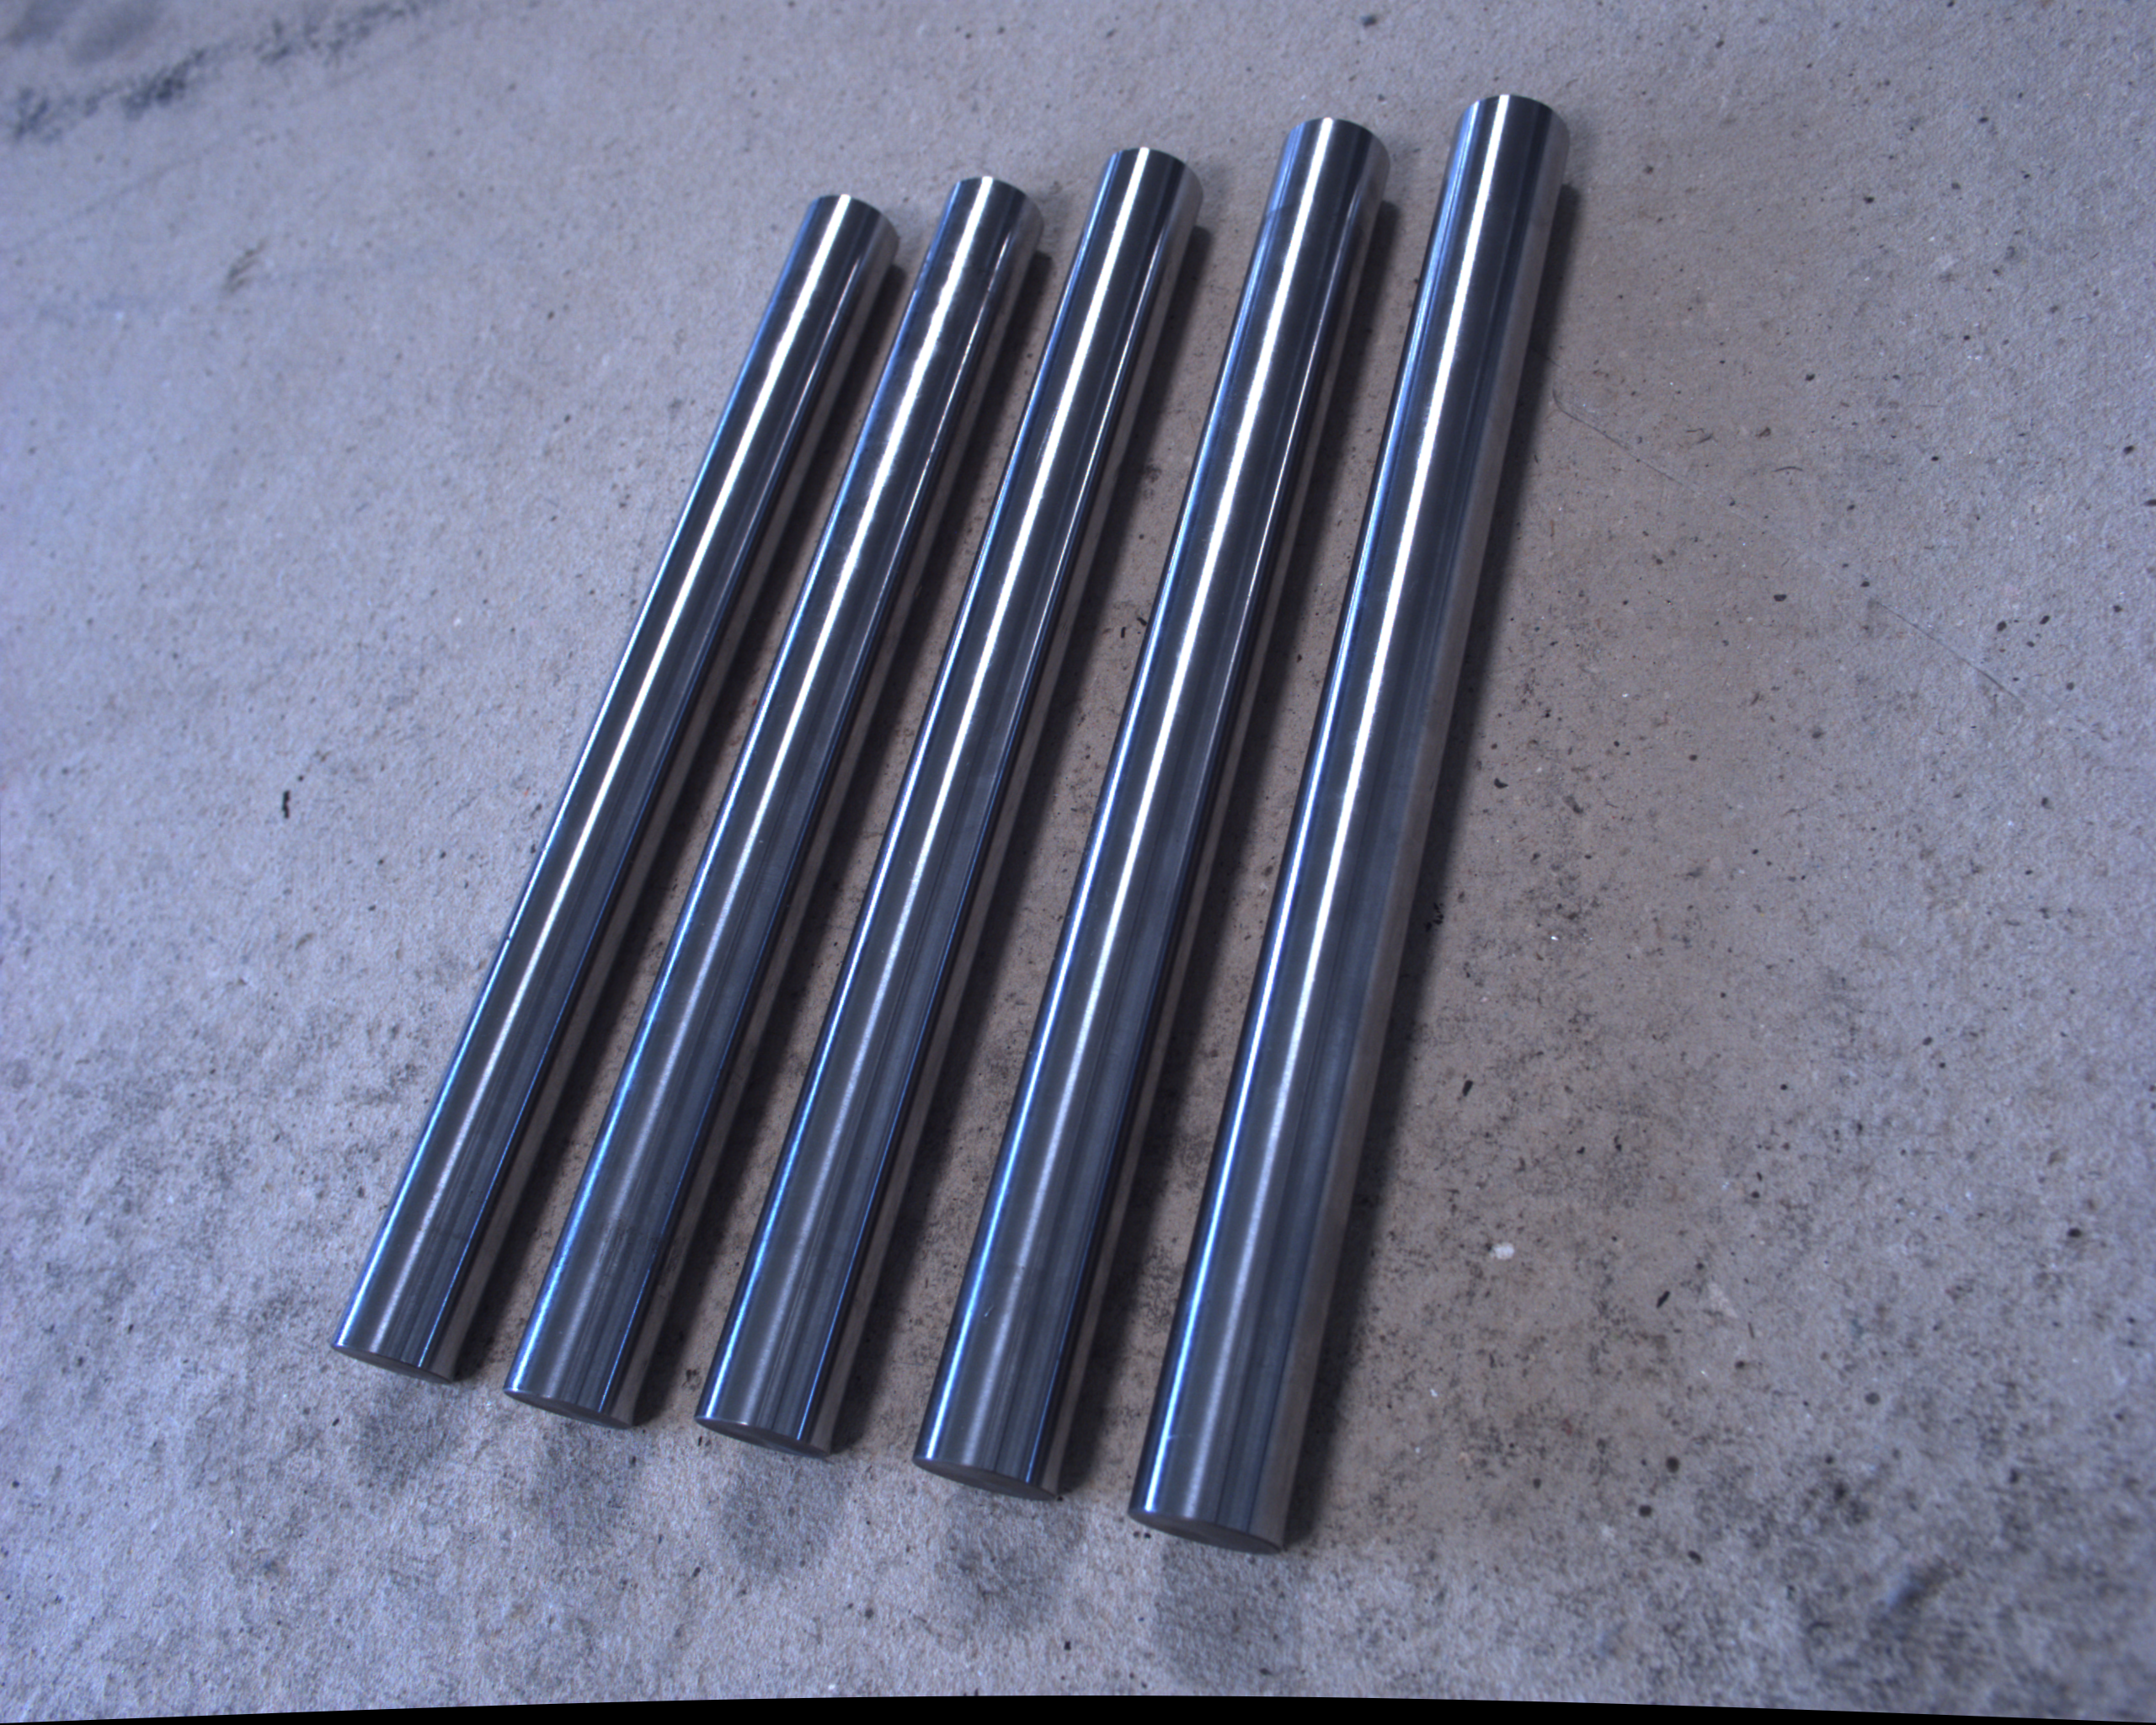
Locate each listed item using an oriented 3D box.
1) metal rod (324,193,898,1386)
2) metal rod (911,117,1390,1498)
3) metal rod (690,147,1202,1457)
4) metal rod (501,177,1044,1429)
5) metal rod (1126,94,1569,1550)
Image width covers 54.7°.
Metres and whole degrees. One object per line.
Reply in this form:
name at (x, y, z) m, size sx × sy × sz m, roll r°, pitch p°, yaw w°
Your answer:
metal rod at (-0.098, -0.031, 0.474) m, size 0.025 × 0.025 × 0.300 m, roll 3°, pitch 63°, yaw 29°
metal rod at (0.021, -0.028, 0.411) m, size 0.025 × 0.025 × 0.300 m, roll 1°, pitch 62°, yaw 29°
metal rod at (-0.020, -0.029, 0.434) m, size 0.025 × 0.025 × 0.300 m, roll 1°, pitch 62°, yaw 29°
metal rod at (-0.058, -0.029, 0.453) m, size 0.025 × 0.025 × 0.300 m, roll 2°, pitch 62°, yaw 29°
metal rod at (0.057, -0.026, 0.391) m, size 0.025 × 0.025 × 0.300 m, roll 1°, pitch 62°, yaw 29°
